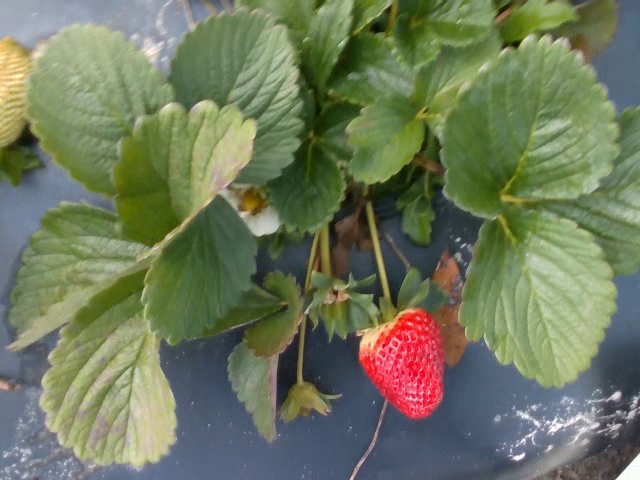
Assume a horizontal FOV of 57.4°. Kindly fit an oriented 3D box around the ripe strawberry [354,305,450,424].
[{"bbox_3d":[0.043,0.065,0.290,0.050,0.053,0.049,-15,-24,-5],"label":"ripe strawberry"}]
